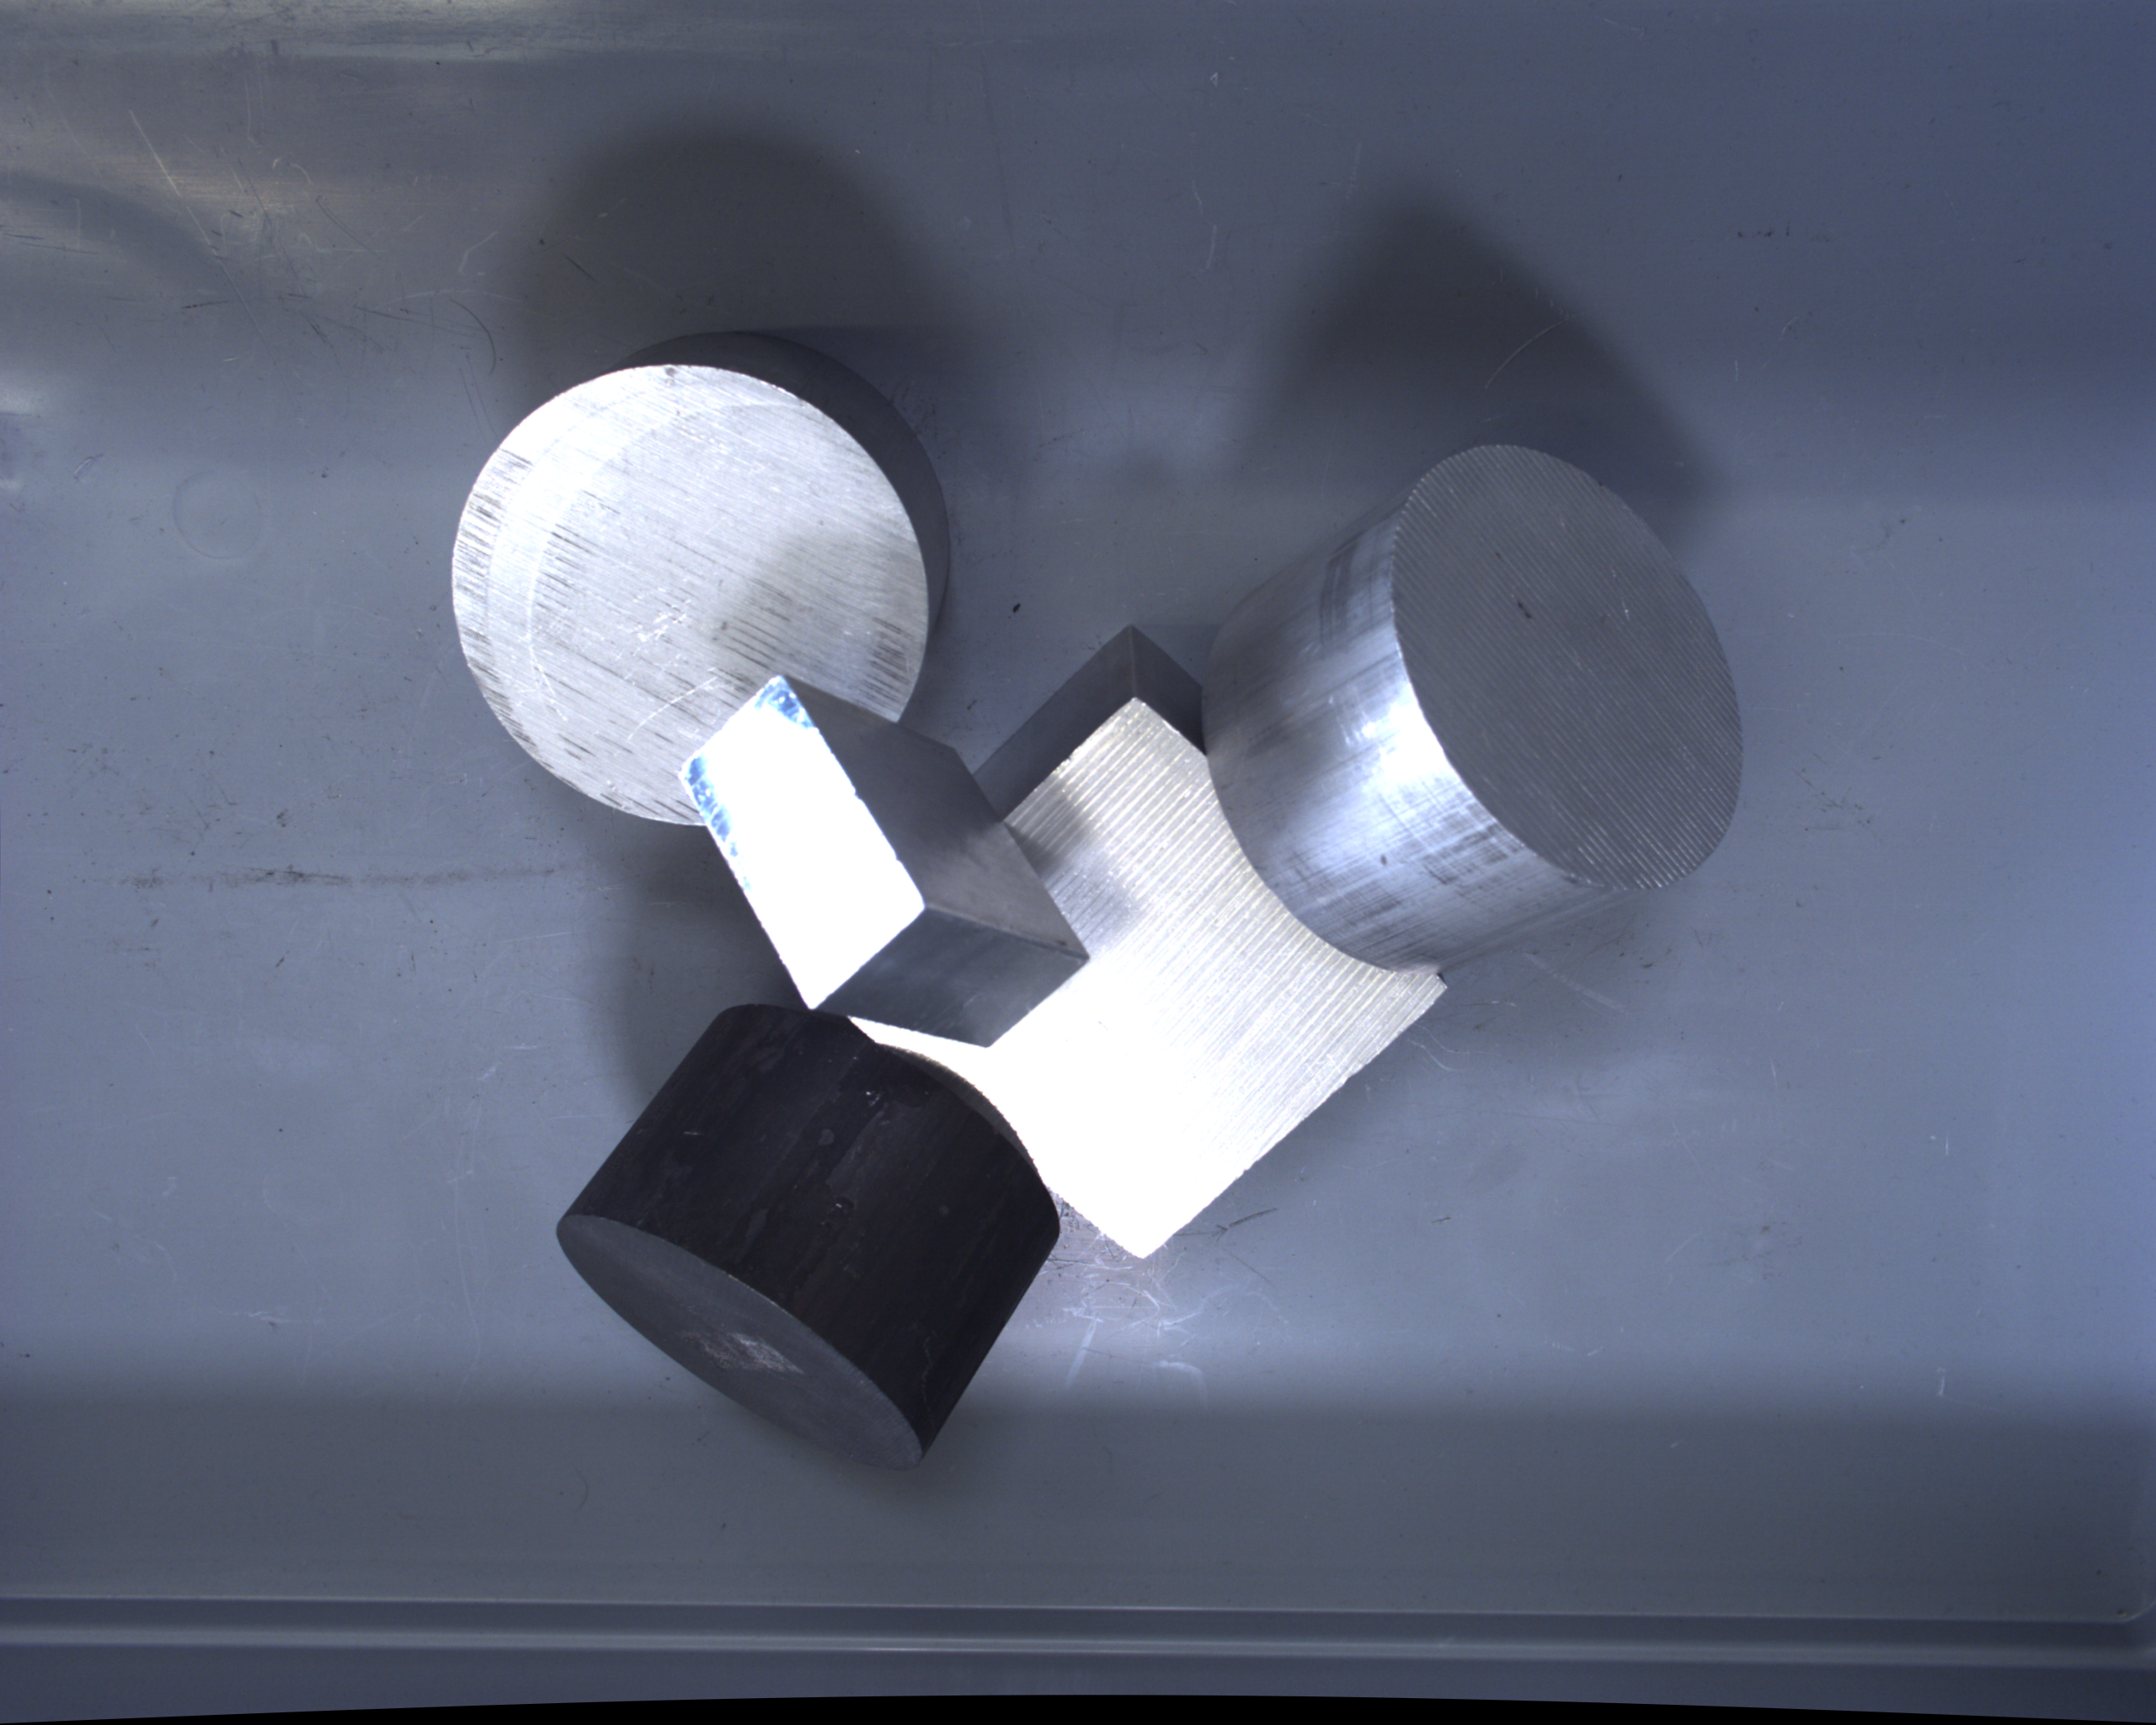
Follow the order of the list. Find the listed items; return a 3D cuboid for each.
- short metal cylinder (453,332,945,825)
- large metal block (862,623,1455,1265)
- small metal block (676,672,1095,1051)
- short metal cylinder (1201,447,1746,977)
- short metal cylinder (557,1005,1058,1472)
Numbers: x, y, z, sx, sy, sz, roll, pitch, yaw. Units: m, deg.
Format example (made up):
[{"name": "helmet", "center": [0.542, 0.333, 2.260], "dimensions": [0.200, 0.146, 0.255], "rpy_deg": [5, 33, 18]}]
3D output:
[{"name": "short metal cylinder", "center": [-0.065, -0.052, 0.377], "dimensions": [0.081, 0.050, 0.079], "rpy_deg": [0, 110, 0]}, {"name": "large metal block", "center": [0.011, 0.015, 0.399], "dimensions": [0.080, 0.050, 0.080], "rpy_deg": [43, 104, -14]}, {"name": "small metal block", "center": [-0.031, 0.001, 0.343], "dimensions": [0.025, 0.050, 0.050], "rpy_deg": [-42, 61, 16]}, {"name": "short metal cylinder", "center": [0.069, -0.025, 0.364], "dimensions": [0.080, 0.080, 0.050], "rpy_deg": [41, 143, -14]}, {"name": "short metal cylinder", "center": [-0.051, 0.072, 0.400], "dimensions": [0.080, 0.050, 0.080], "rpy_deg": [25, 150, 16]}]
